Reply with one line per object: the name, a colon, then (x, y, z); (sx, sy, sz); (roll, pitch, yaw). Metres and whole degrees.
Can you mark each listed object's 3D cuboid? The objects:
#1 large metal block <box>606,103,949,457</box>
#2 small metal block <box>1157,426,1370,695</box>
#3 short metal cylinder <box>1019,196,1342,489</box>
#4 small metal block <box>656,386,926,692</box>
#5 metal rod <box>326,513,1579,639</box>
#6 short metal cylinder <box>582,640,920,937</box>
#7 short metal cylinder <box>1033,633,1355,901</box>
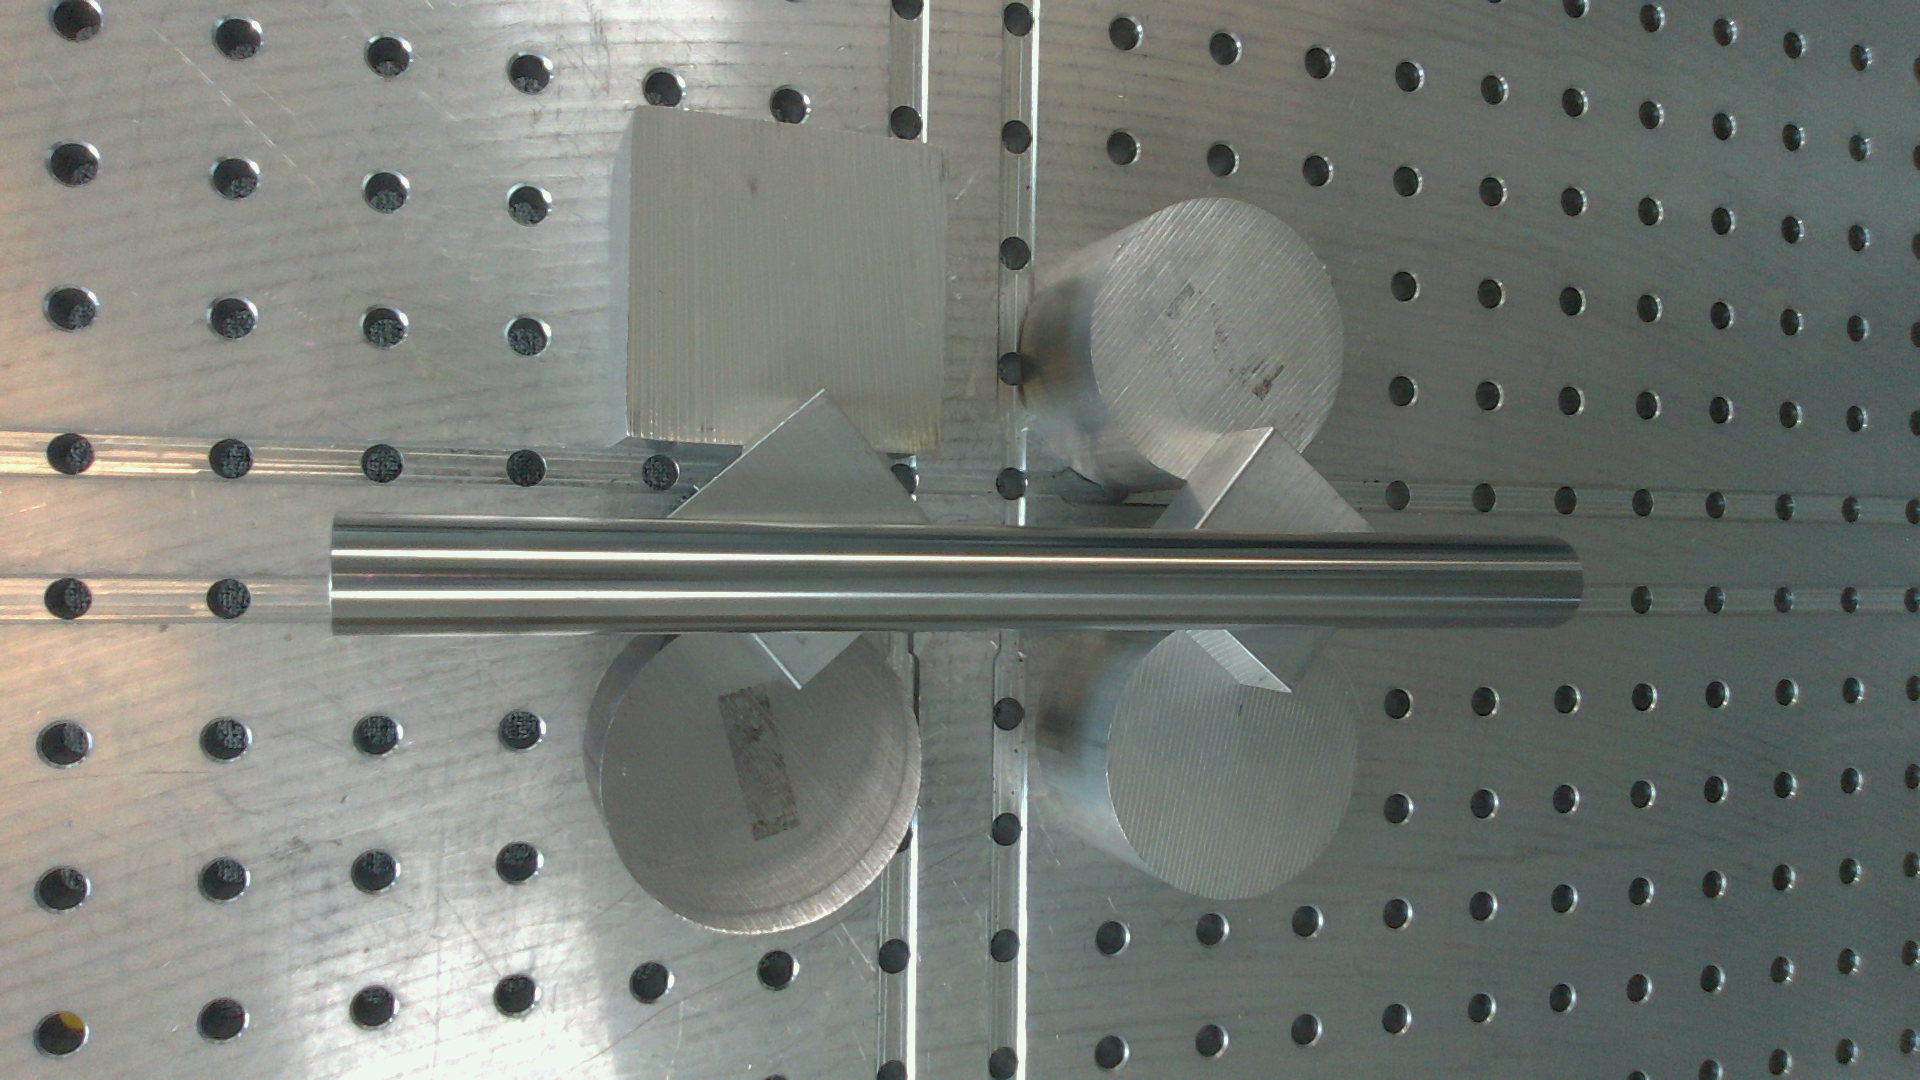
large metal block: (-0.050, -0.063, 0.364); (0.080, 0.050, 0.080); (1, 90, -20)
small metal block: (0.080, 0.005, 0.372); (0.050, 0.025, 0.050); (42, 77, -15)
short metal cylinder: (0.064, -0.056, 0.406); (0.080, 0.050, 0.080); (0, 90, -20)
small metal block: (-0.039, 0.000, 0.329); (0.050, 0.025, 0.050); (-42, 103, -15)
metal rod: (0.018, 0.009, 0.322); (0.301, 0.025, 0.025); (1, 90, -20)
short metal cylinder: (-0.056, 0.057, 0.361); (0.080, 0.050, 0.080); (0, 90, -20)
short metal cylinder: (0.068, 0.061, 0.408); (0.080, 0.050, 0.080); (0, 90, -20)
